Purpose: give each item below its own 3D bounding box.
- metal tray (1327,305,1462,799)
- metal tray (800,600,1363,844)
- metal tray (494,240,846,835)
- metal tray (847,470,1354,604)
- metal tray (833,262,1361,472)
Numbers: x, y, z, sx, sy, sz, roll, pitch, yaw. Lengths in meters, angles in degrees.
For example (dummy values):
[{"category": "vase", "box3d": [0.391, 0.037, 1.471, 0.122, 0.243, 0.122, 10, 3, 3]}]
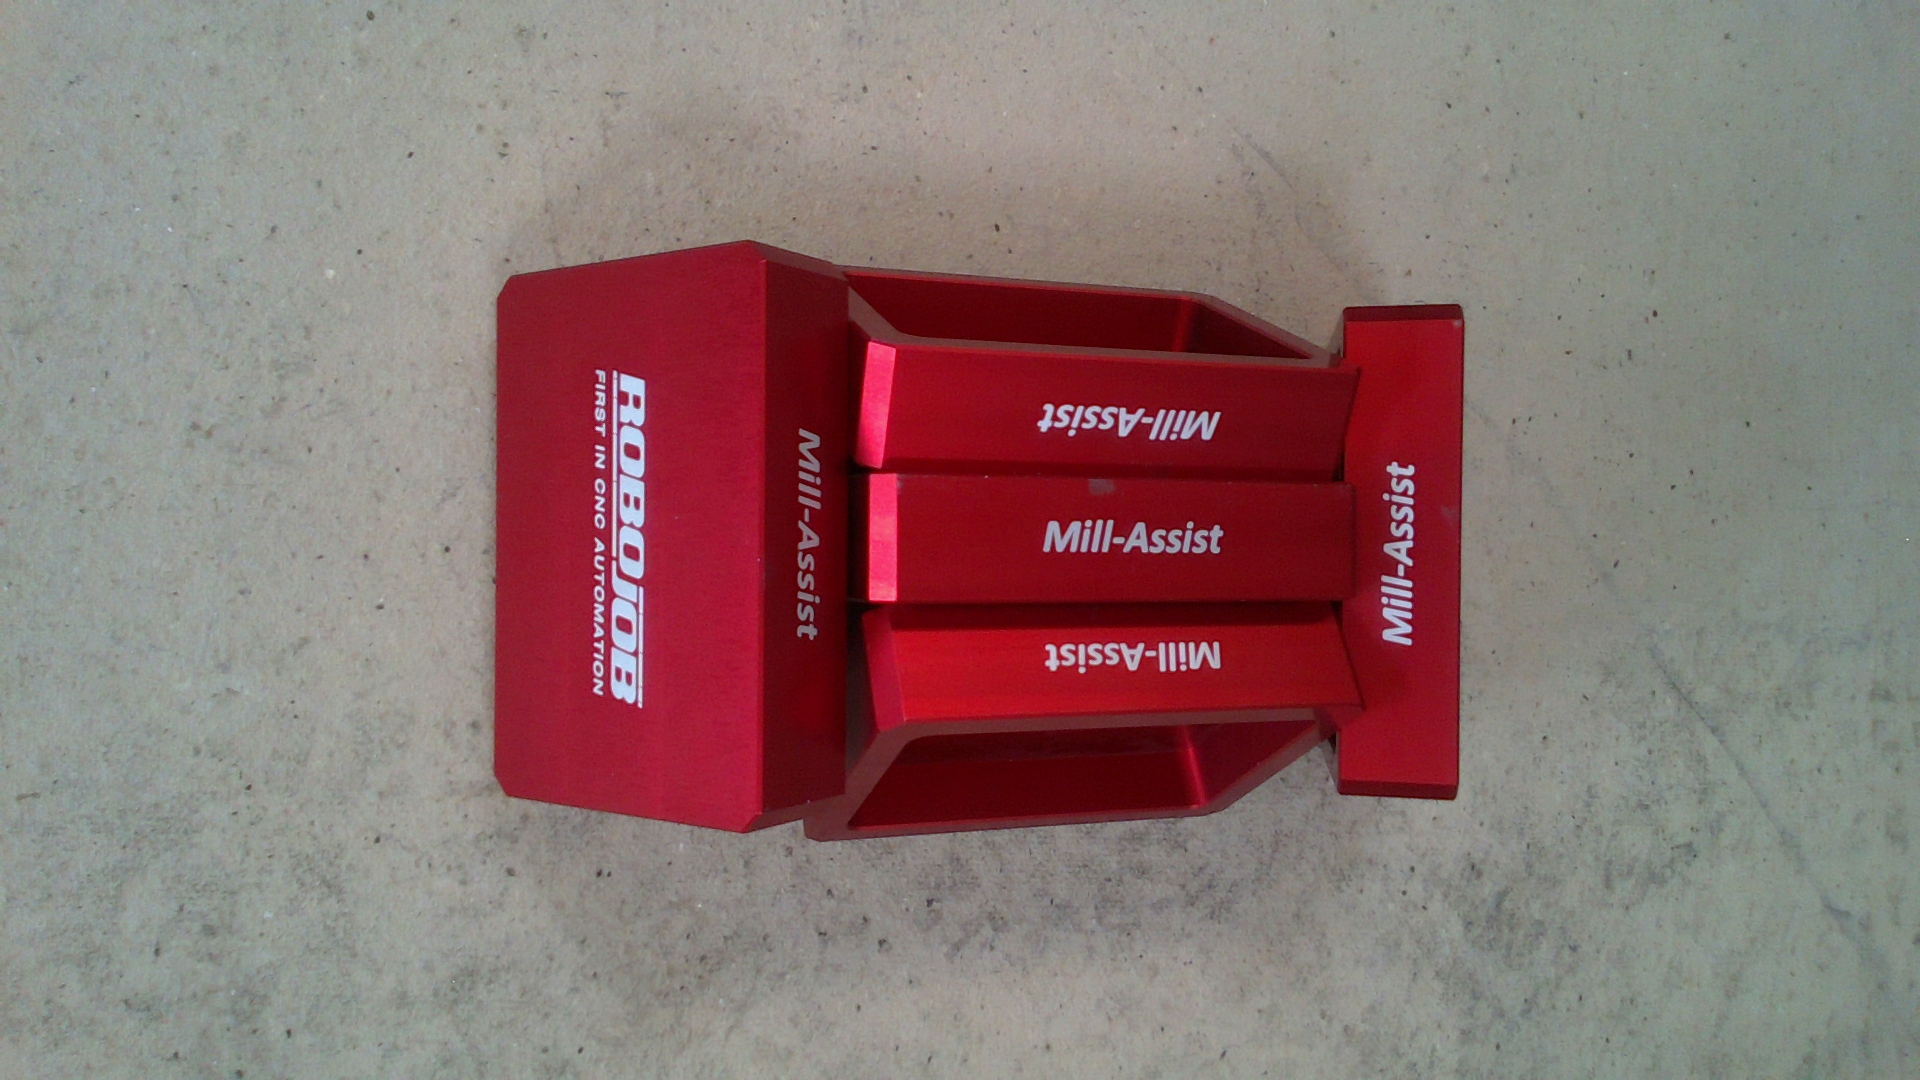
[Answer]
[{"category": "metal tray", "box3d": [0.124, 0.003, 0.404, 0.030, 0.090, 0.130, 1, 90, 12]}, {"category": "metal tray", "box3d": [0.028, 0.050, 0.369, 0.130, 0.090, 0.030, 1, 61, -20]}, {"category": "metal tray", "box3d": [-0.072, -0.001, 0.334, 0.030, 0.090, 0.130, 0, 90, -56]}, {"category": "metal tray", "box3d": [0.027, -0.001, 0.369, 0.130, 0.090, 0.030, 0, 90, -20]}, {"category": "metal tray", "box3d": [0.026, -0.046, 0.366, 0.130, 0.090, 0.030, 0, 112, -20]}]
